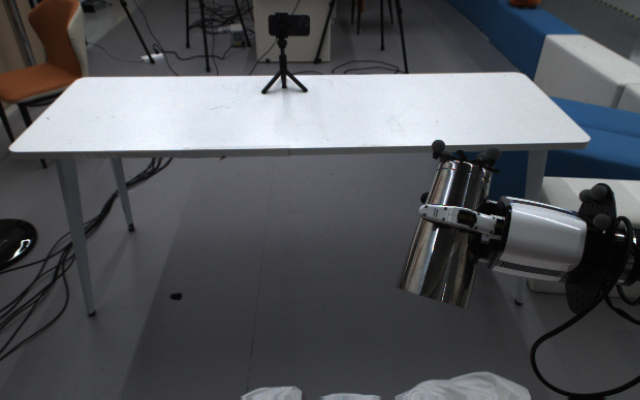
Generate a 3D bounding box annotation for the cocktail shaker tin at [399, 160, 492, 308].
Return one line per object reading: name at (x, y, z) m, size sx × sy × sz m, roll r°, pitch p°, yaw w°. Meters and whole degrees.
cocktail shaker tin at (0.162, 0.040, 0.612) m, size 0.093 × 0.170 × 0.093 m, roll 16°, pitch -6°, yaw 2°
